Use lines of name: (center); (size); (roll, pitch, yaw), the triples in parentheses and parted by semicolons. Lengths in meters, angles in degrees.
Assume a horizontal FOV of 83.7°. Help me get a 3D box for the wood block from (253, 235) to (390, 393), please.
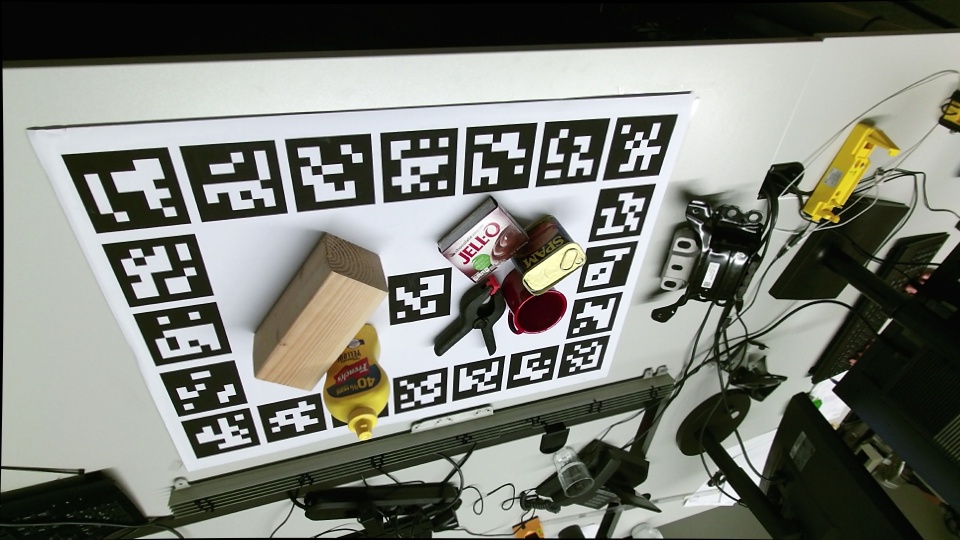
wood block: (-0.229, 0.067, 0.760); (0.090, 0.090, 0.206); (26, 113, -37)

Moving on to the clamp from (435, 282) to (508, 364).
clamp: (0.001, 0.095, 0.913); (0.122, 0.036, 0.165); (9, 119, -26)

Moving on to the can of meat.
can of meat: (0.107, -0.021, 0.828); (0.102, 0.083, 0.058); (-33, 129, 3)

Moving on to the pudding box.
pudding box: (0.005, -0.039, 0.809); (0.114, 0.038, 0.090); (-40, 129, 10)

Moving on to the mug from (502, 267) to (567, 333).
mug: (0.082, 0.053, 0.909); (0.094, 0.081, 0.117); (11, 118, -29)

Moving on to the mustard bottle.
mustard bottle: (-0.176, 0.175, 0.790); (0.096, 0.191, 0.058); (-14, 128, -14)
